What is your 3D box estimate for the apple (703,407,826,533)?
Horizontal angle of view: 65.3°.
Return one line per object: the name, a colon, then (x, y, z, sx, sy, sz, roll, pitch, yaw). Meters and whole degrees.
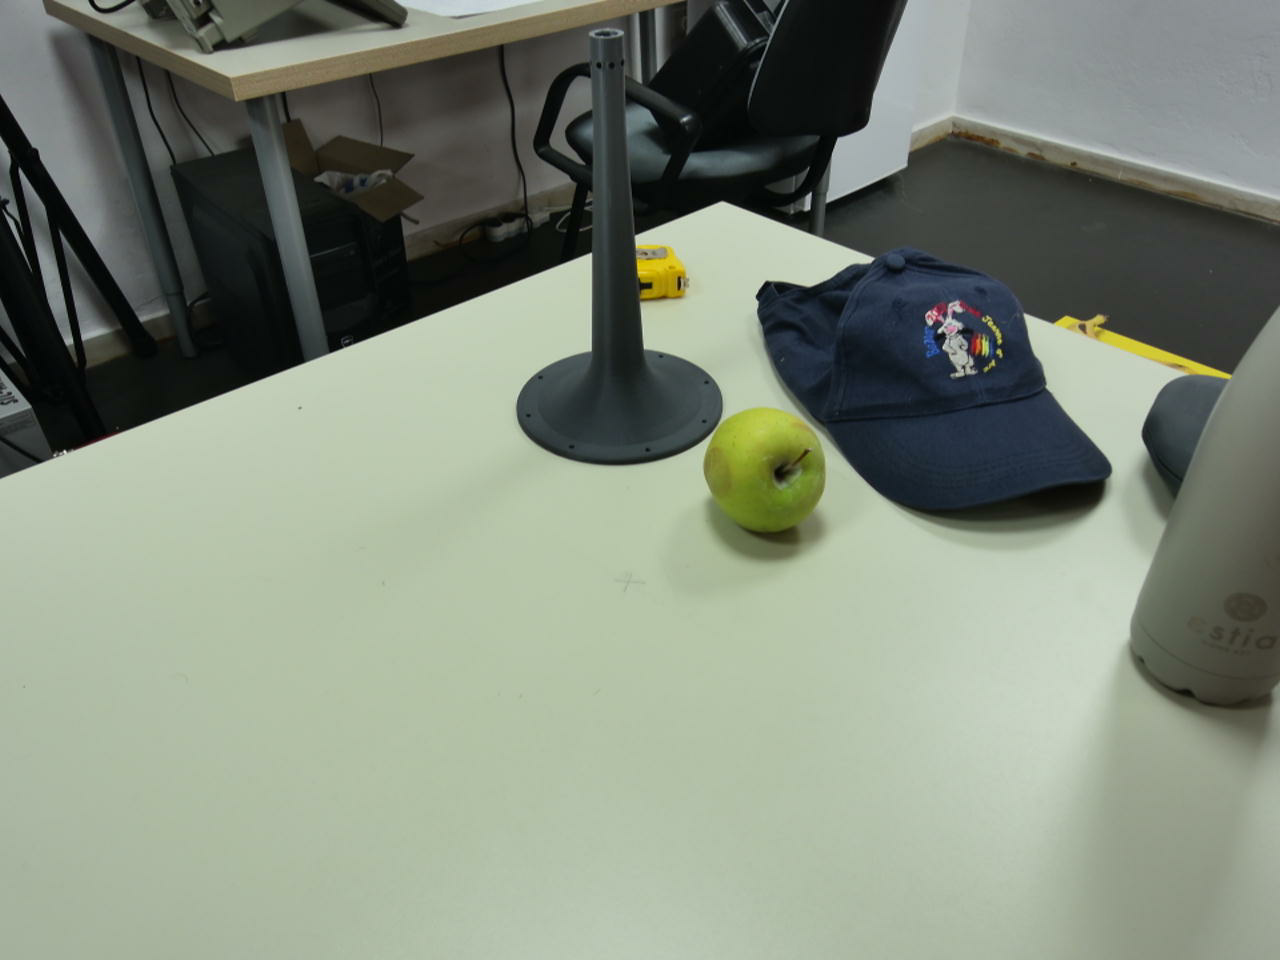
apple: (0.074, -0.008, 0.602, 0.072, 0.075, 0.077, 2, 36, 2)
